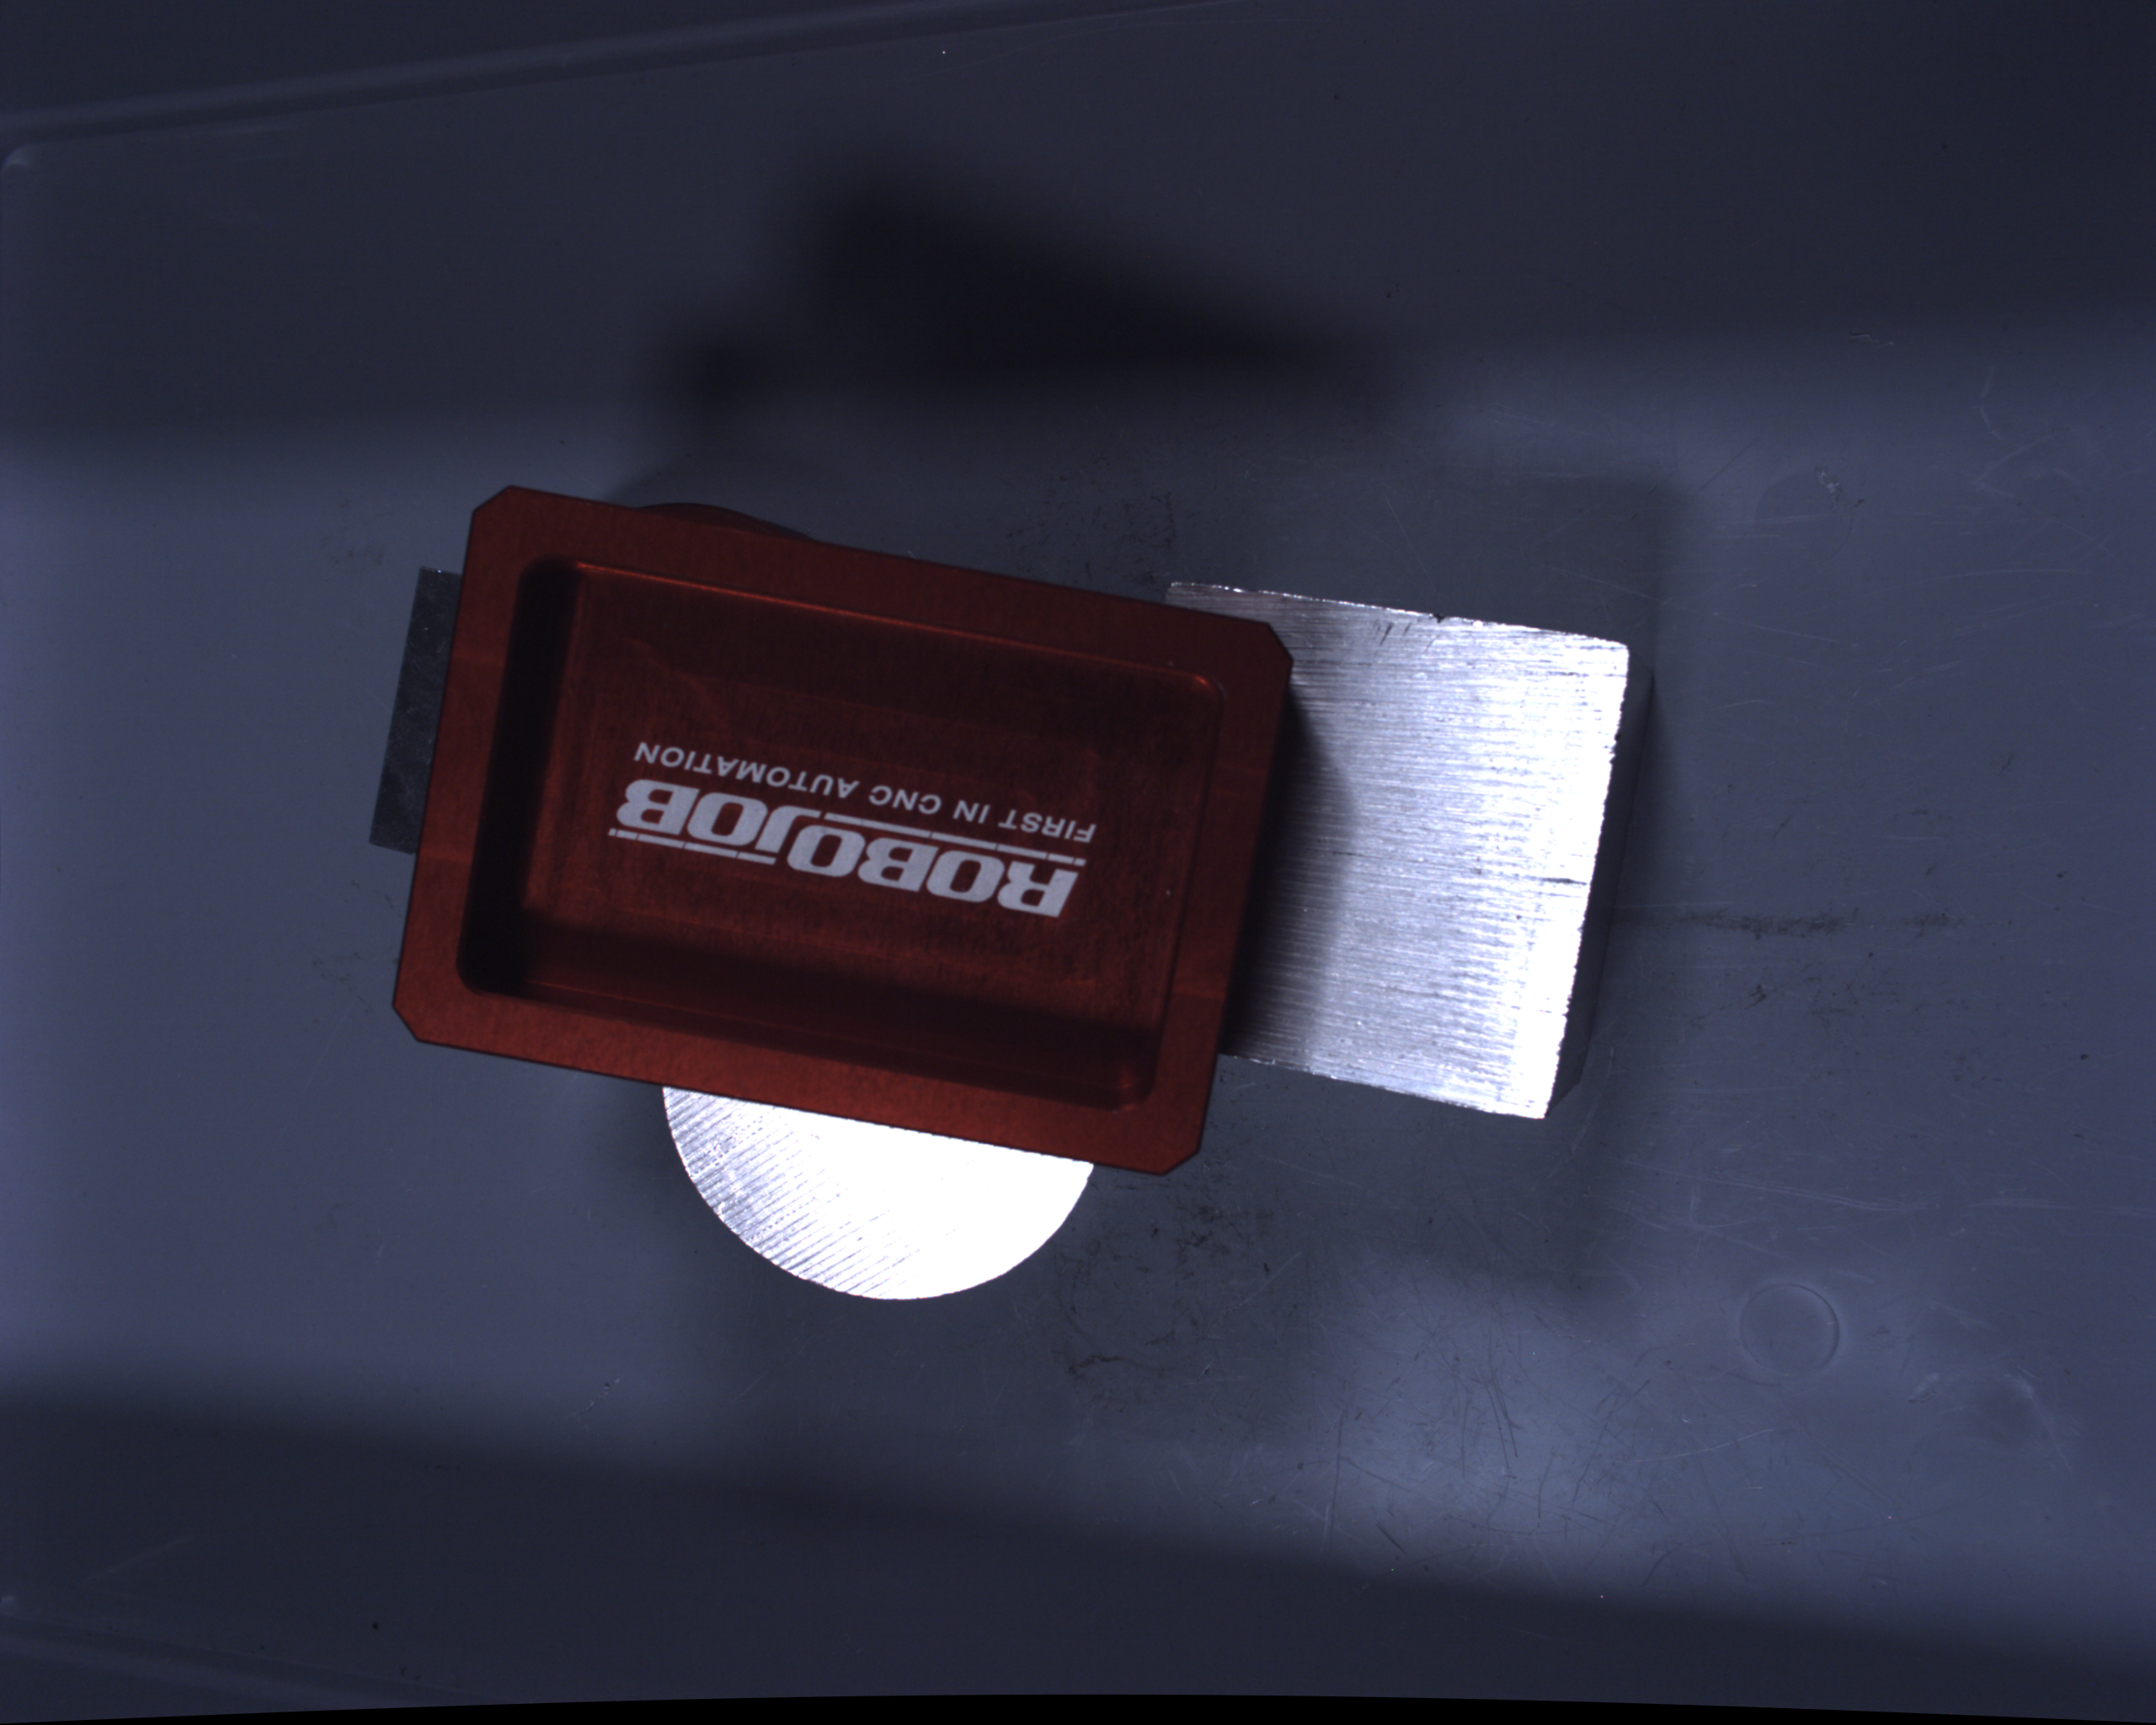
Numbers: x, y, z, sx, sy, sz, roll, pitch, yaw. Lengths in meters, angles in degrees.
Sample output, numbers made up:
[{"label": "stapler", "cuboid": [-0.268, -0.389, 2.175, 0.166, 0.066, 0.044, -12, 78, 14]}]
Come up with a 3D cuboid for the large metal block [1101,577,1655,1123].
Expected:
[{"label": "large metal block", "cuboid": [0.054, -0.004, 0.375, 0.080, 0.050, 0.079, 11, 94, 19]}]

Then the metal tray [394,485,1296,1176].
[{"label": "metal tray", "cuboid": [-0.037, -0.006, 0.343, 0.131, 0.030, 0.089, 10, 94, 0]}]

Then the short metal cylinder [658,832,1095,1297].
[{"label": "short metal cylinder", "cuboid": [-0.032, 0.034, 0.394, 0.080, 0.050, 0.079, 2, 103, 7]}]

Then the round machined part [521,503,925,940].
[{"label": "round machined part", "cuboid": [-0.084, -0.025, 0.428, 0.098, 0.042, 0.097, 0, 90, 19]}]

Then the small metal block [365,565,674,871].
[{"label": "small metal block", "cuboid": [-0.100, -0.025, 0.385, 0.025, 0.050, 0.050, 13, 95, 19]}]
